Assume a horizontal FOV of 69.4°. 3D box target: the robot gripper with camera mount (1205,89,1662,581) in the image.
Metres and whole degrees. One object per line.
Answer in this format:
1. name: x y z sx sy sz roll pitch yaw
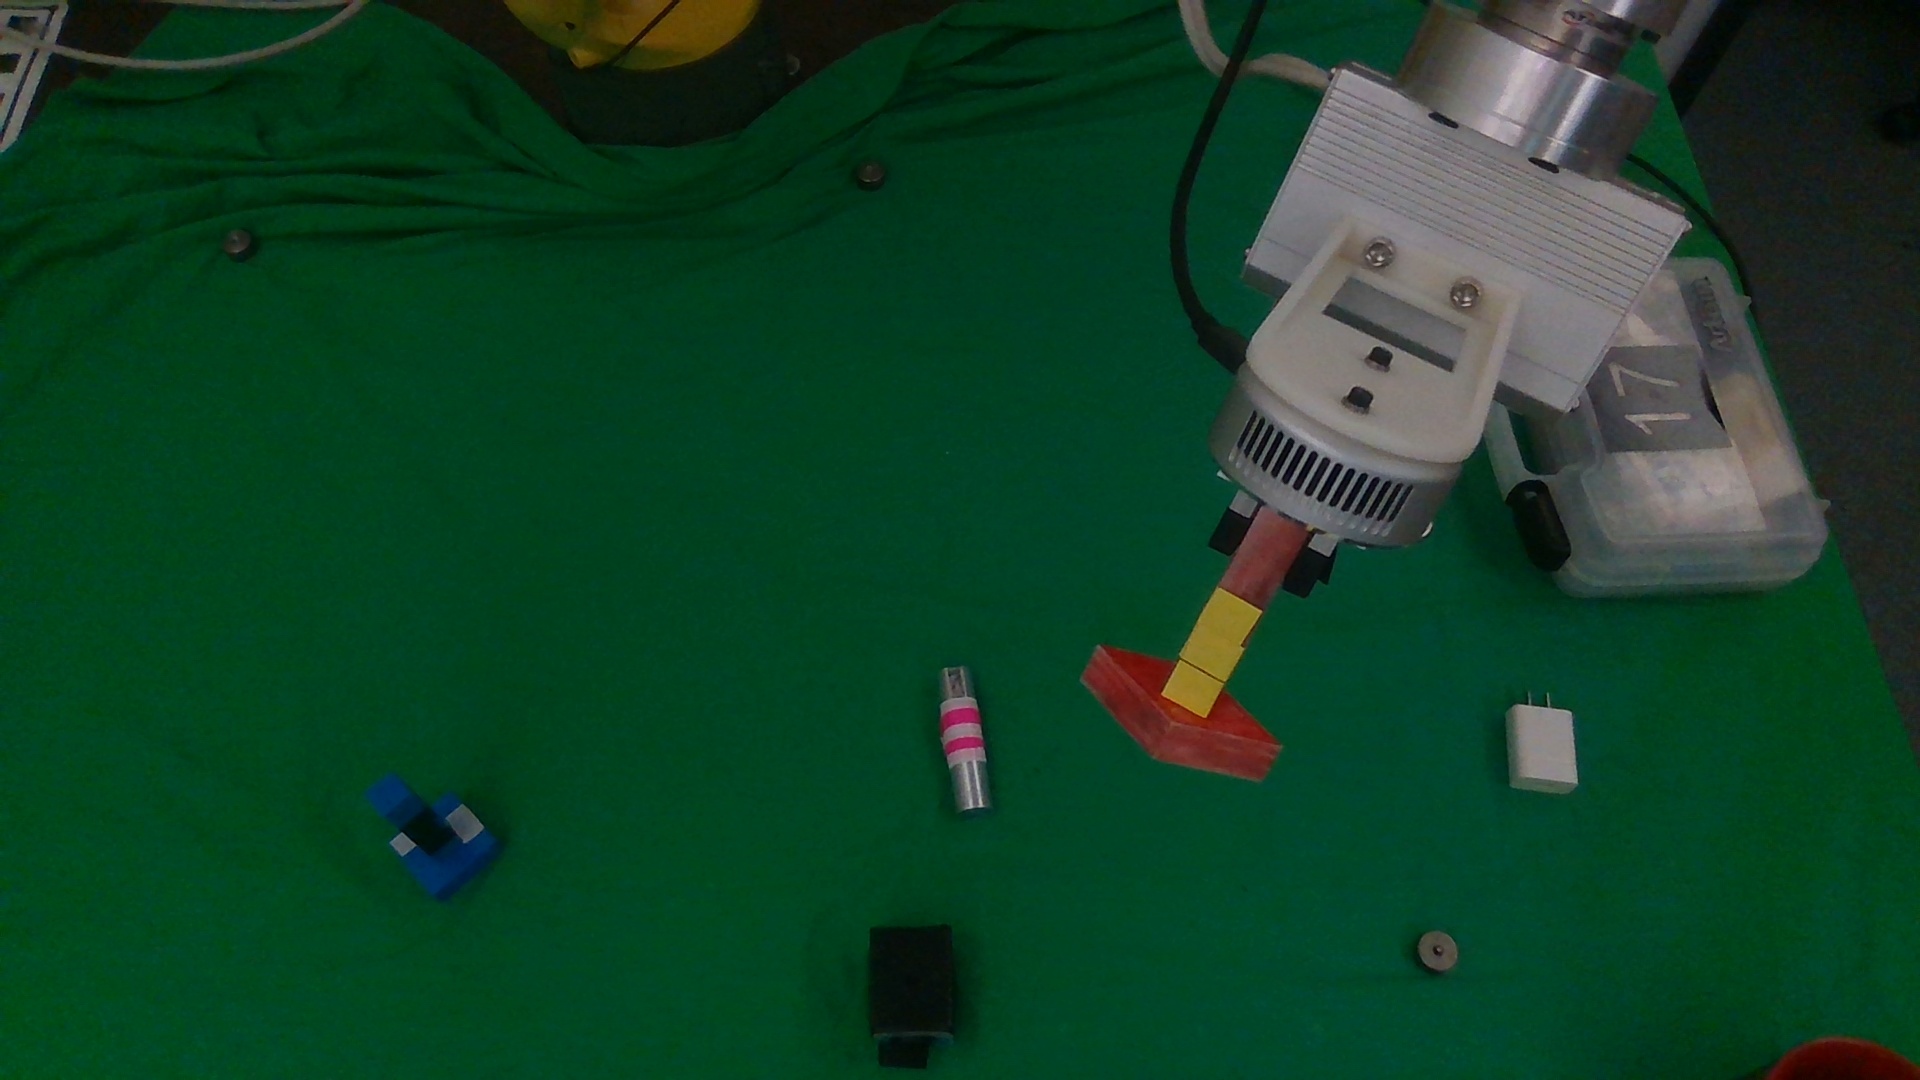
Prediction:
1. robot gripper with camera mount: 0.121 -0.027 0.427 0.119 0.159 0.193 28 31 7

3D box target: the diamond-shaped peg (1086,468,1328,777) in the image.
1. diamond-shaped peg: 0.109 0.028 0.545 0.074 0.122 0.045 18 27 -12
